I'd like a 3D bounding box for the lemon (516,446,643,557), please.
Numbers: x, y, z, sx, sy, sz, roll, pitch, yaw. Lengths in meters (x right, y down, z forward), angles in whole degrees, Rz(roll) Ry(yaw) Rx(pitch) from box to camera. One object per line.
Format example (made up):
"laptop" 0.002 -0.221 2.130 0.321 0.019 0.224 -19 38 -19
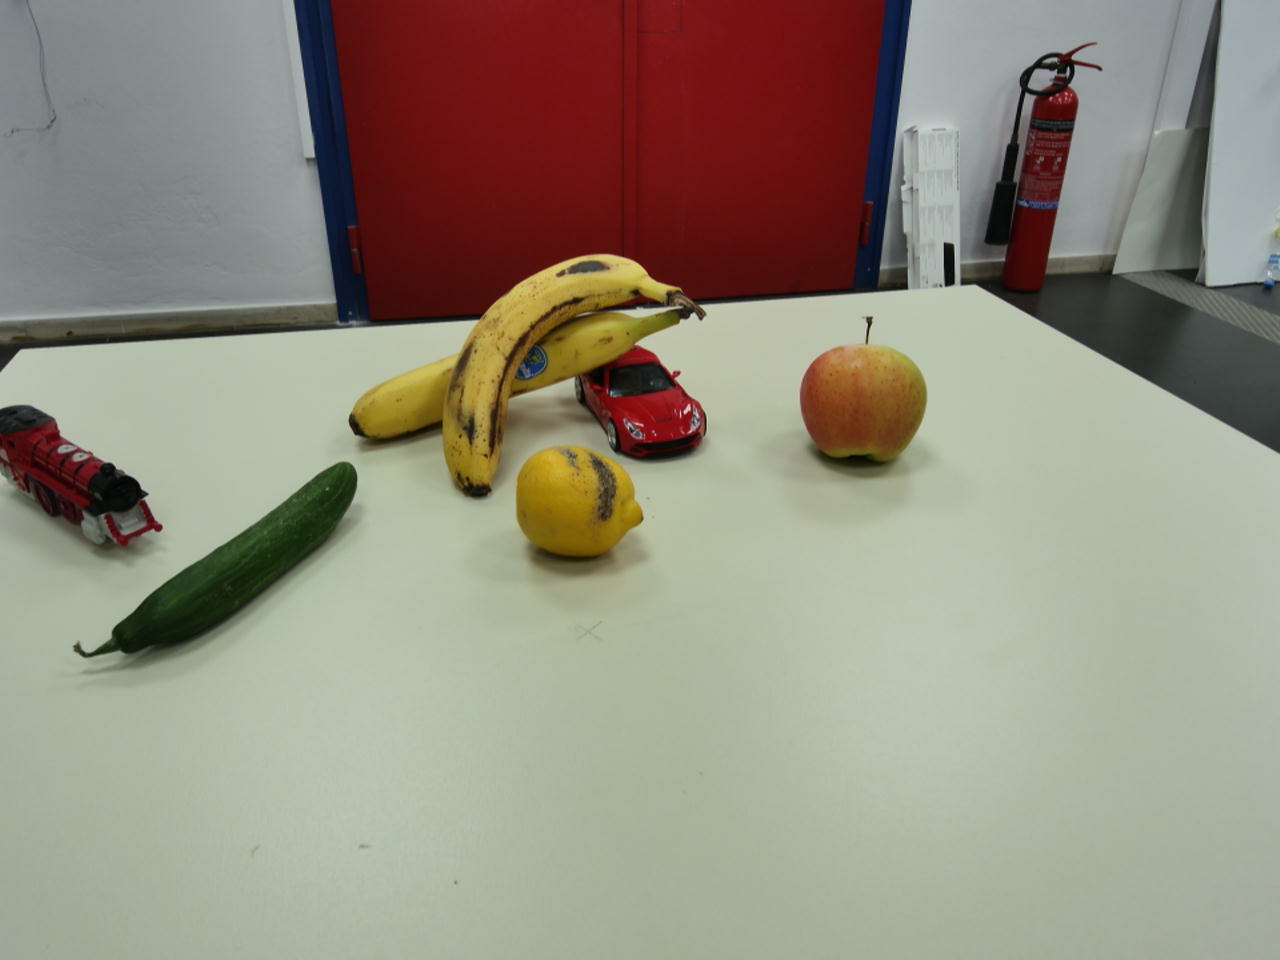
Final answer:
"lemon" -0.033 0.011 0.511 0.061 0.056 0.058 -10 27 -19
